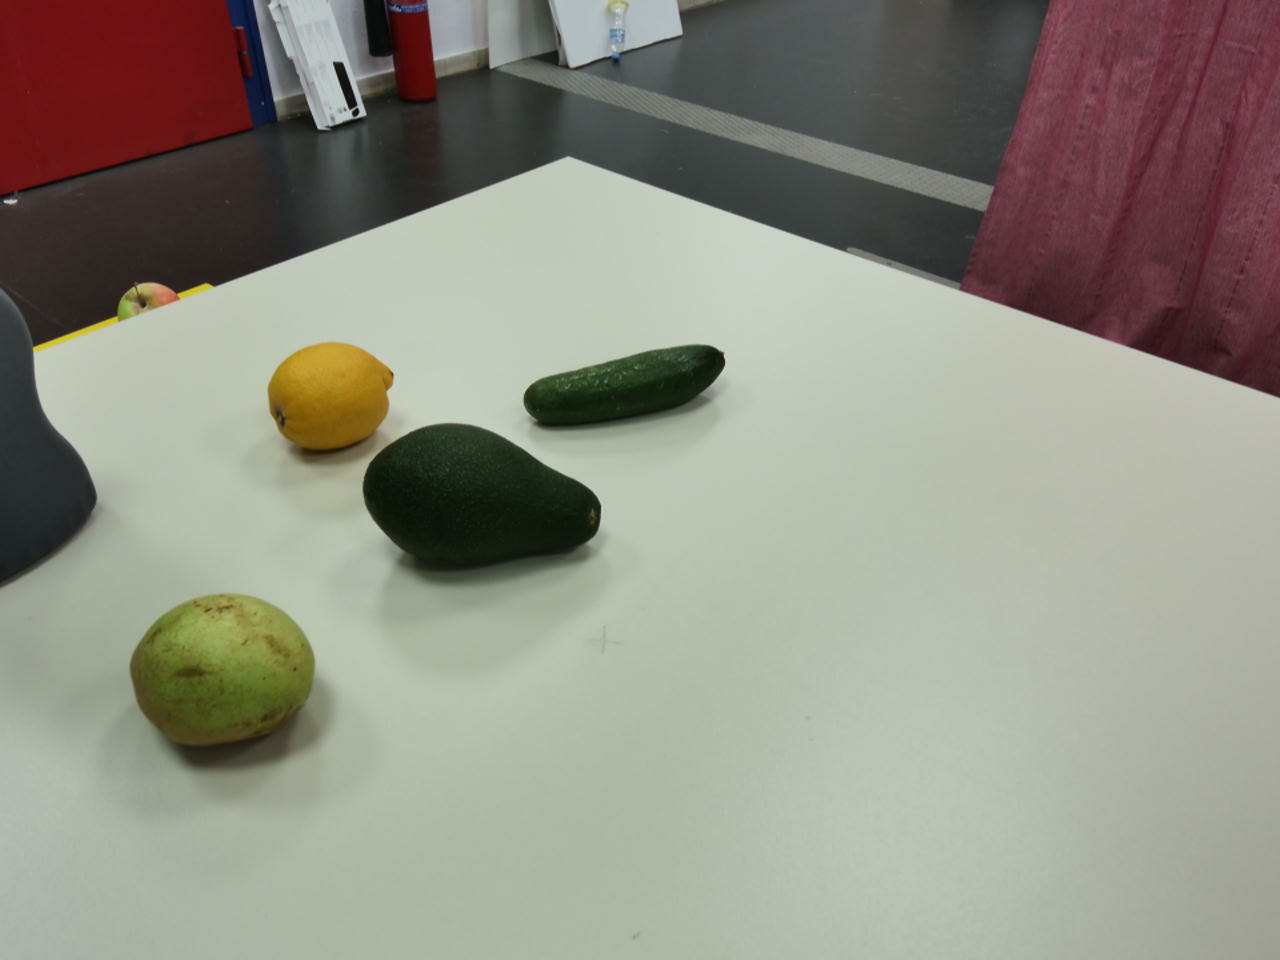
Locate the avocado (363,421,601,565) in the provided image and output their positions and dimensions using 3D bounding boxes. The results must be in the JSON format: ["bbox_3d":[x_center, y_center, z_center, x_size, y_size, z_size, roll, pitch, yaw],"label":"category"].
[{"bbox_3d":[-0.079,0.008,0.494,0.110,0.071,0.072,11,38,13],"label":"avocado"}]
